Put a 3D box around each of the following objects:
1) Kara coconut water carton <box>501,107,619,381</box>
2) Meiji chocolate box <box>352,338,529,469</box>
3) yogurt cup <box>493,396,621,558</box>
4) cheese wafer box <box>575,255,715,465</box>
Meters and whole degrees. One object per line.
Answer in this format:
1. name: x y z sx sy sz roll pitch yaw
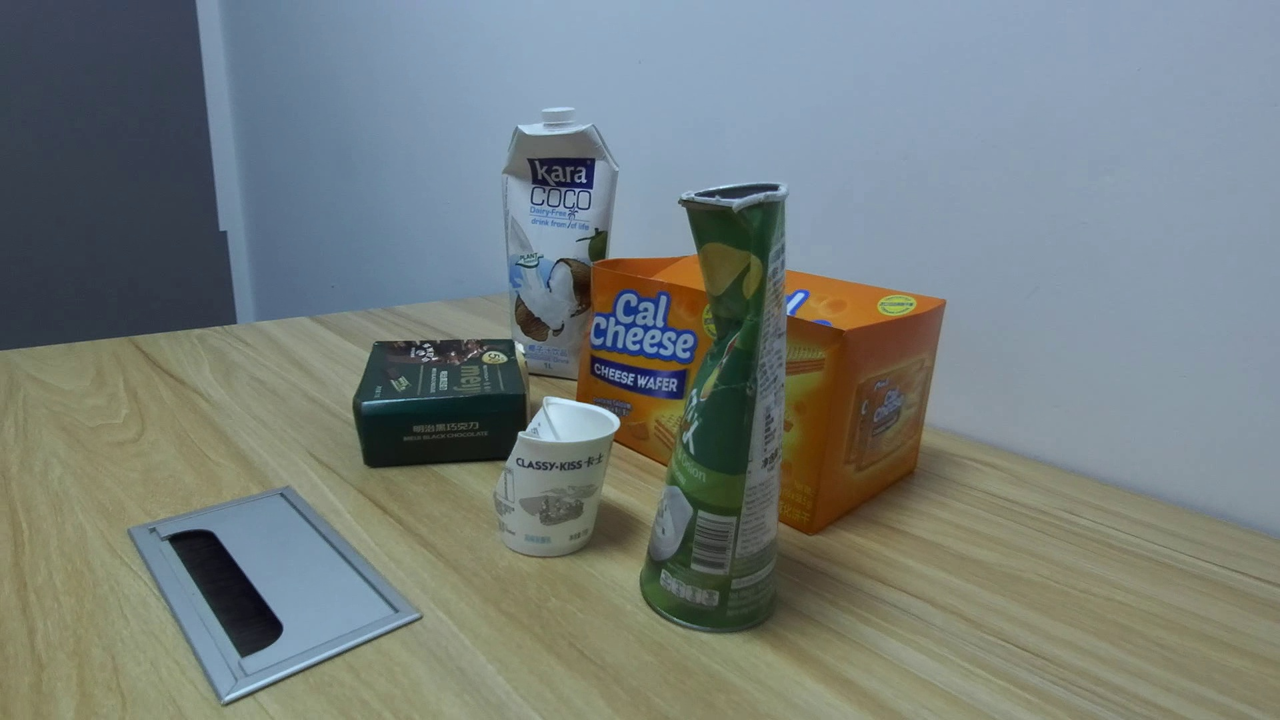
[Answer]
1. Kara coconut water carton: -0.075 -0.104 0.645 0.115 0.238 0.069 7 19 12
2. Meiji chocolate box: -0.141 0.030 0.516 0.123 0.058 0.115 -2 21 -14
3. yogurt cup: -0.046 0.064 0.388 0.067 0.070 0.067 3 17 -1
4. cheese wafer box: 0.083 0.010 0.526 0.153 0.132 0.229 -12 22 -41
